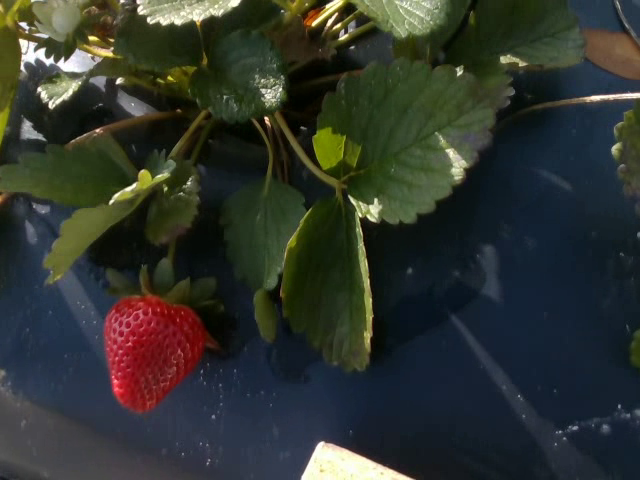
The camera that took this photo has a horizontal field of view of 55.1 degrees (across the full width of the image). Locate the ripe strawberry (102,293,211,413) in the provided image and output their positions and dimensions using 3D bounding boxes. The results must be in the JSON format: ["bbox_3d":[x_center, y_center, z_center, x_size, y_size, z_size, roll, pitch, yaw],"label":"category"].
[{"bbox_3d":[-0.057,0.040,0.201,0.041,0.047,0.041,-3,-34,35],"label":"ripe strawberry"}]
